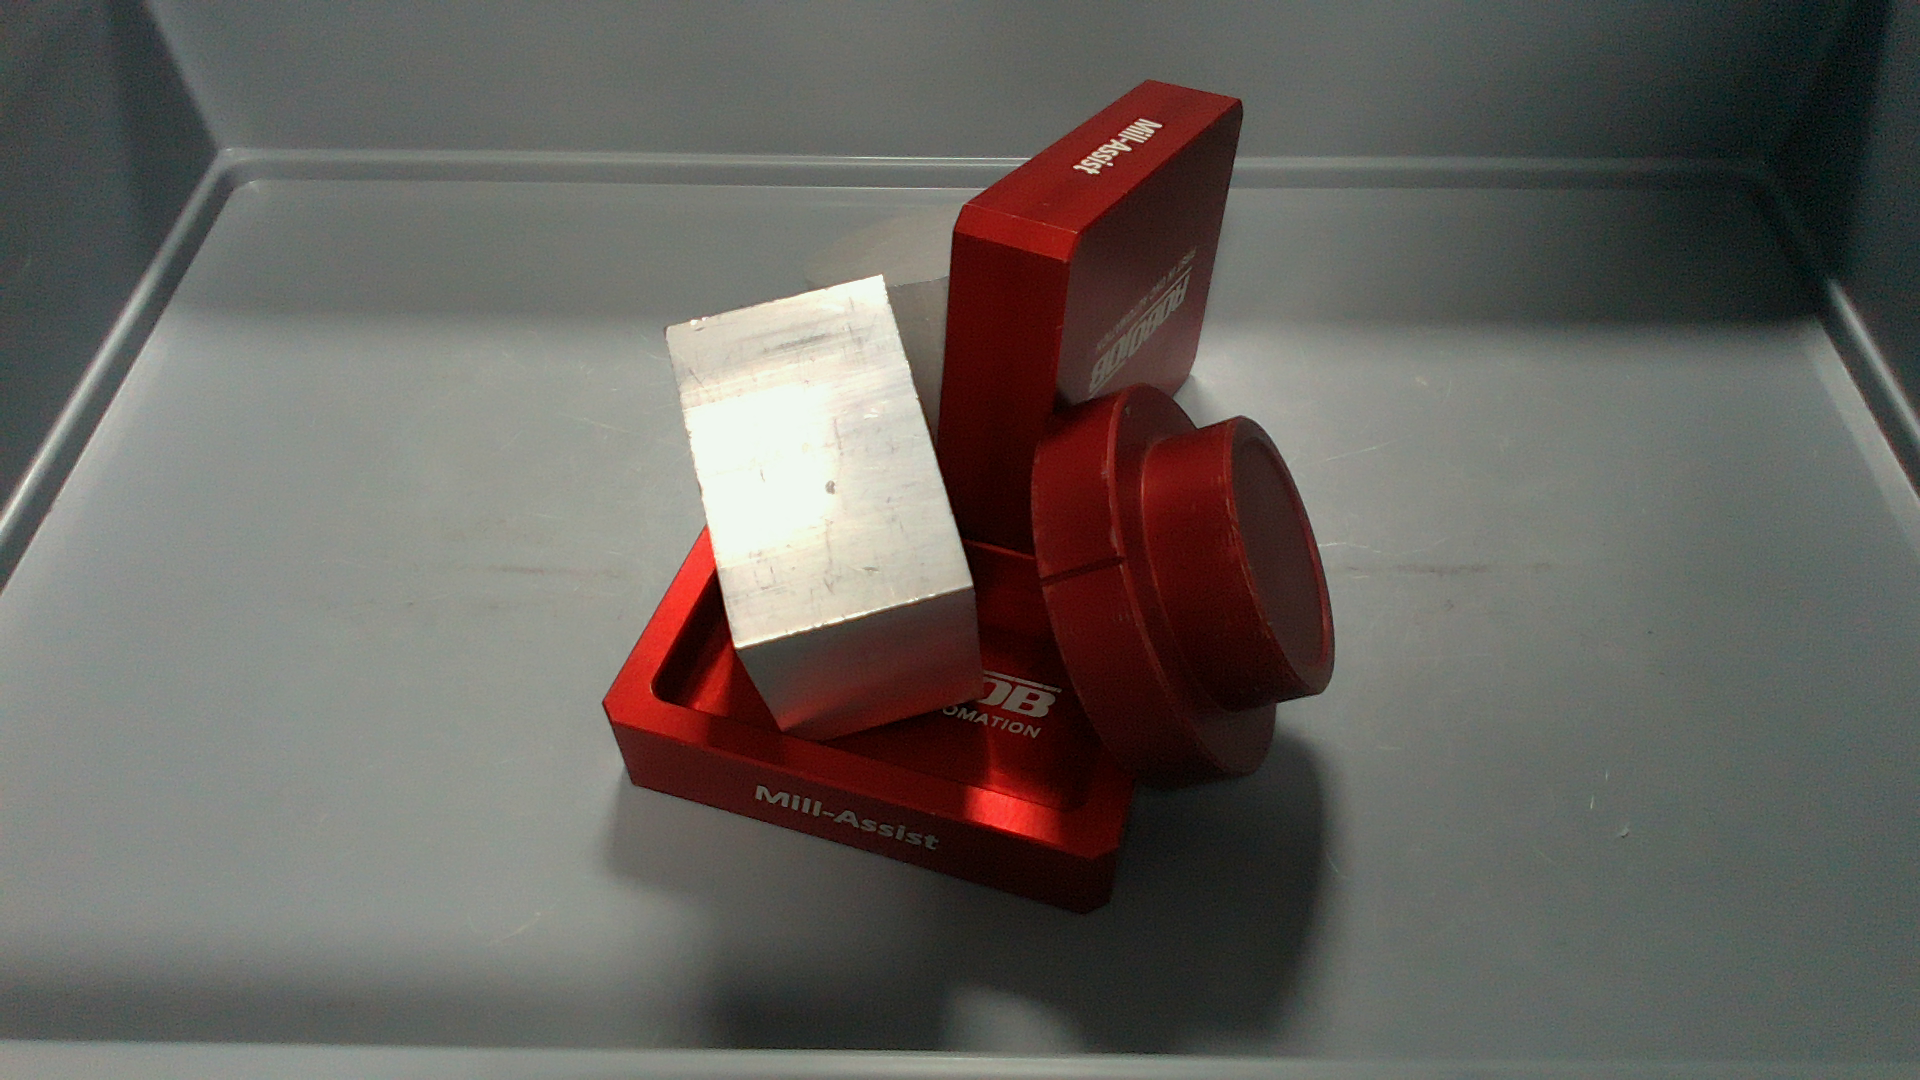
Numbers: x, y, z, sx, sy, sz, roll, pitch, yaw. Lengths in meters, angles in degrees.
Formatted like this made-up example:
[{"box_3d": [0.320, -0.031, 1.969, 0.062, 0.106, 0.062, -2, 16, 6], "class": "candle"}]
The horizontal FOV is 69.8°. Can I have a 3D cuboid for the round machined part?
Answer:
[{"box_3d": [0.059, 0.008, 0.331, 0.042, 0.098, 0.098, -17, 44, 27], "class": "round machined part"}]

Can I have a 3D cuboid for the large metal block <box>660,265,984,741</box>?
[{"box_3d": [-0.030, -0.004, 0.327, 0.050, 0.080, 0.080, -15, 67, -4], "class": "large metal block"}]

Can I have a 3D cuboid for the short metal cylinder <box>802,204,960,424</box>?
[{"box_3d": [-0.002, -0.066, 0.410, 0.080, 0.050, 0.080, -10, 26, 5], "class": "short metal cylinder"}]

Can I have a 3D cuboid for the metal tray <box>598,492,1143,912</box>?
[{"box_3d": [-0.014, 0.034, 0.358, 0.130, 0.030, 0.090, 13, 51, 11], "class": "metal tray"}]

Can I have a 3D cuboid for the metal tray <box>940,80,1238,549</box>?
[{"box_3d": [0.038, -0.066, 0.383, 0.030, 0.090, 0.130, 19, 37, 19], "class": "metal tray"}]
